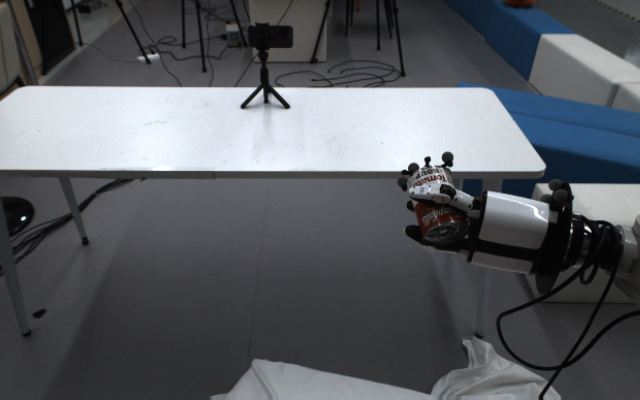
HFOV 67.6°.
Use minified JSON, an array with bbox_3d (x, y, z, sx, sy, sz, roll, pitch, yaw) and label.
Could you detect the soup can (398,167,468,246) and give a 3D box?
[{"bbox_3d":[0.174,0.007,0.716,0.067,0.067,0.101,-5,57,-10],"label":"soup can"}]
